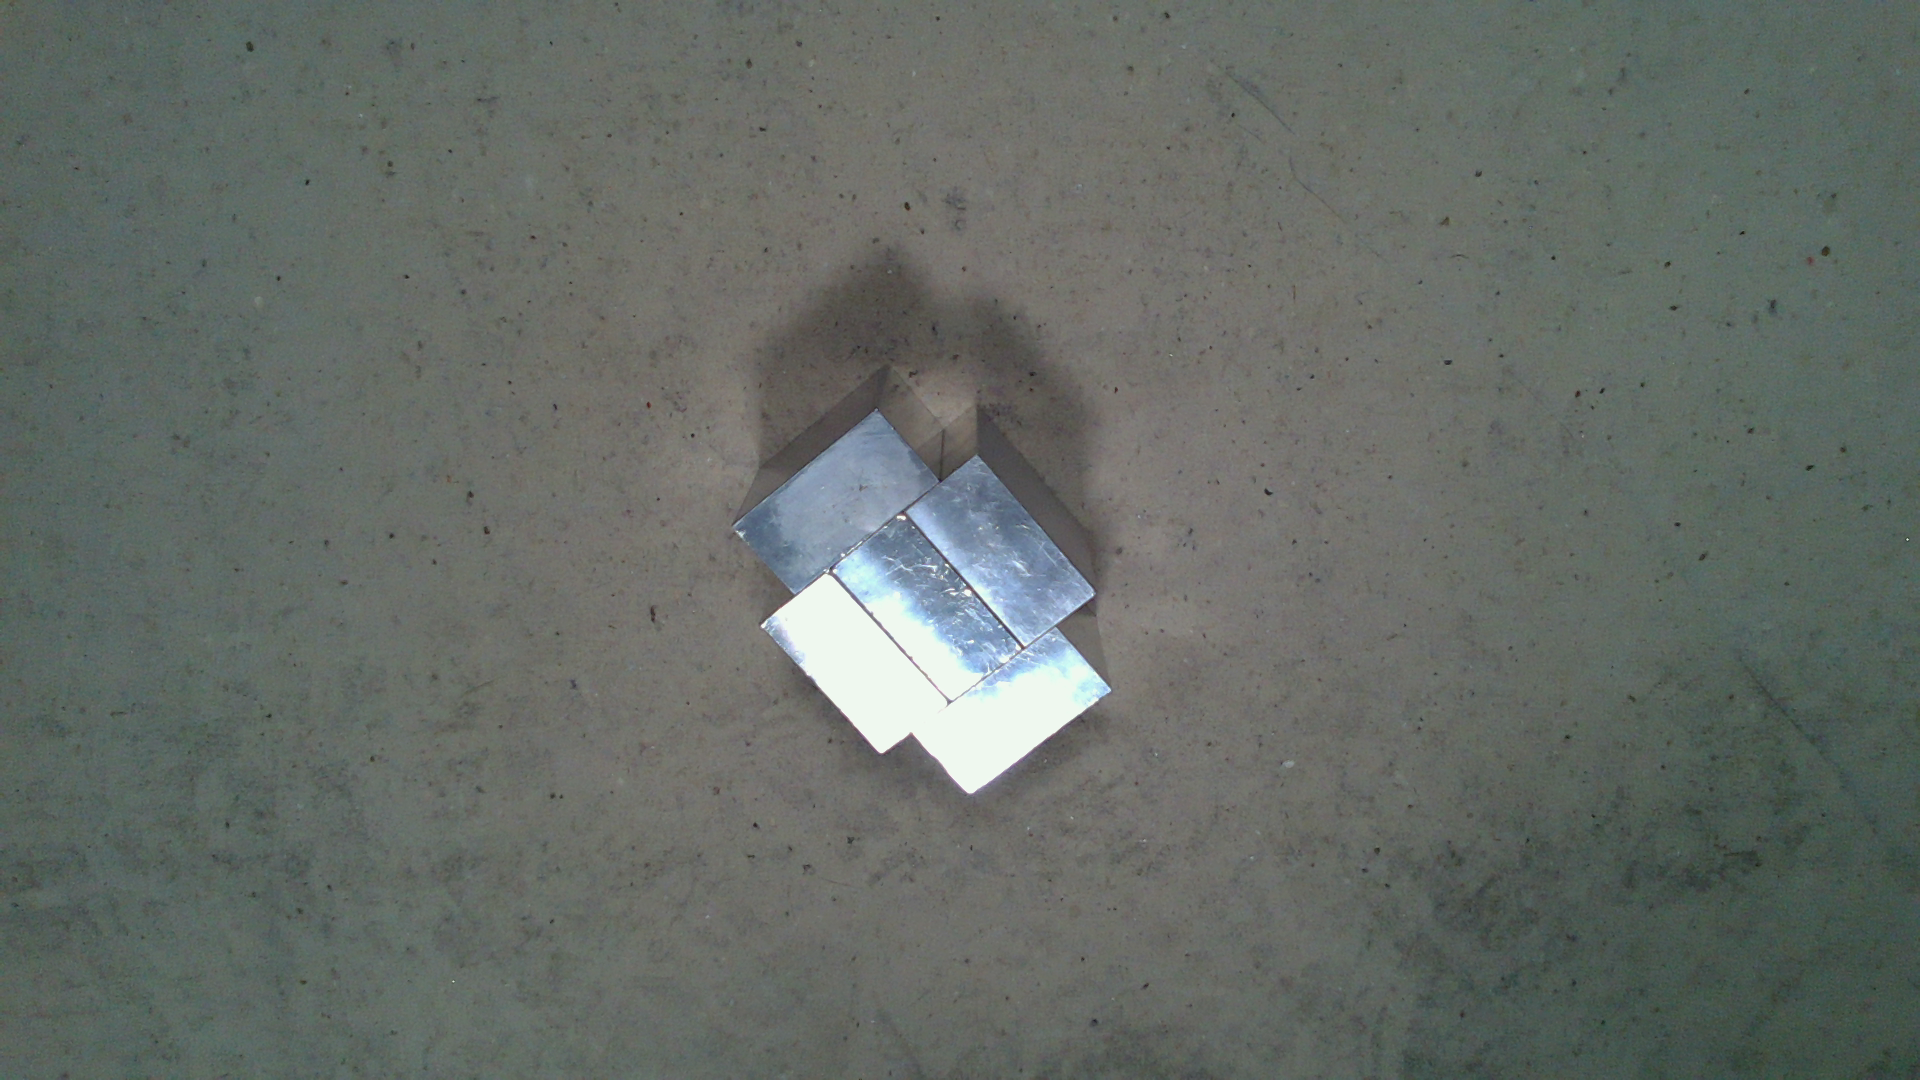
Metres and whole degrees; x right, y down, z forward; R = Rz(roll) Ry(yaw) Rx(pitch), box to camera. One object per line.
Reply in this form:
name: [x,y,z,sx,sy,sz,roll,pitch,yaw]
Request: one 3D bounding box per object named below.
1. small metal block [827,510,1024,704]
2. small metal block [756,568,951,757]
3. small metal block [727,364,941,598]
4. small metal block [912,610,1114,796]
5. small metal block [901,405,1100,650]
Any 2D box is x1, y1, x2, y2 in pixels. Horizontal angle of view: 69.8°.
small metal block: [-0.009,0.010,0.384,0.025,0.050,0.050,-38,106,13]
small metal block: [-0.028,0.025,0.389,0.025,0.050,0.050,-38,106,13]
small metal block: [-0.032,-0.017,0.374,0.050,0.050,0.025,-38,106,13]
small metal block: [0.014,0.038,0.394,0.050,0.050,0.025,-38,106,13]
small metal block: [0.011,-0.005,0.378,0.025,0.050,0.050,-39,106,13]
